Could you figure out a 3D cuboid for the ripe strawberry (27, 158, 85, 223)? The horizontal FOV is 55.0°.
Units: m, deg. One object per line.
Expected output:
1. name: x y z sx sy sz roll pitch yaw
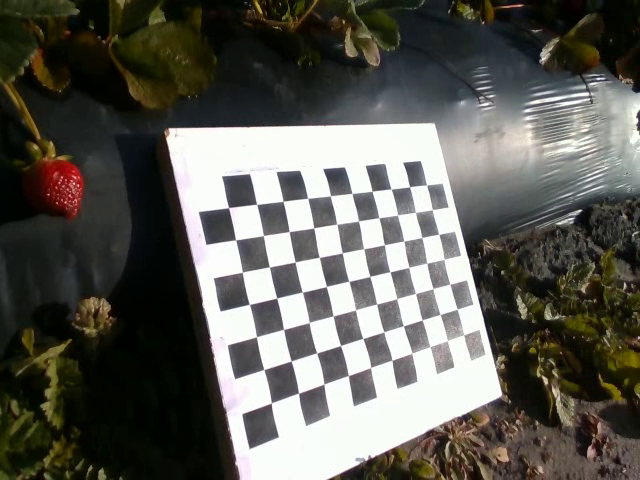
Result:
1. ripe strawberry: -0.155 -0.027 0.362 0.040 0.044 0.037 -34 -4 -36
